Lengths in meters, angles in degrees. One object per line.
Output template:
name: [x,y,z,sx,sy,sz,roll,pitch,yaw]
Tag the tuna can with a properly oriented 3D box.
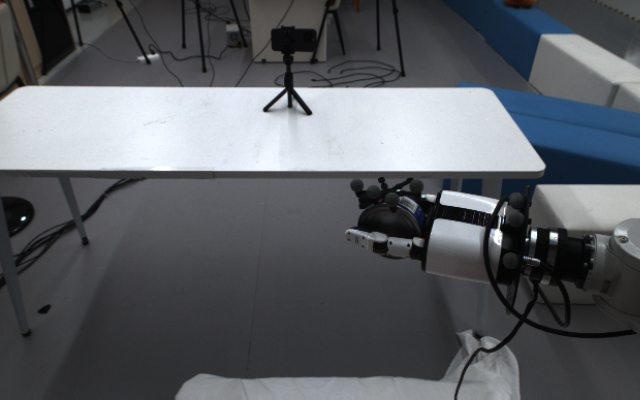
tuna can: [0.097,0.031,0.634,0.085,0.085,0.034,17,37,20]
